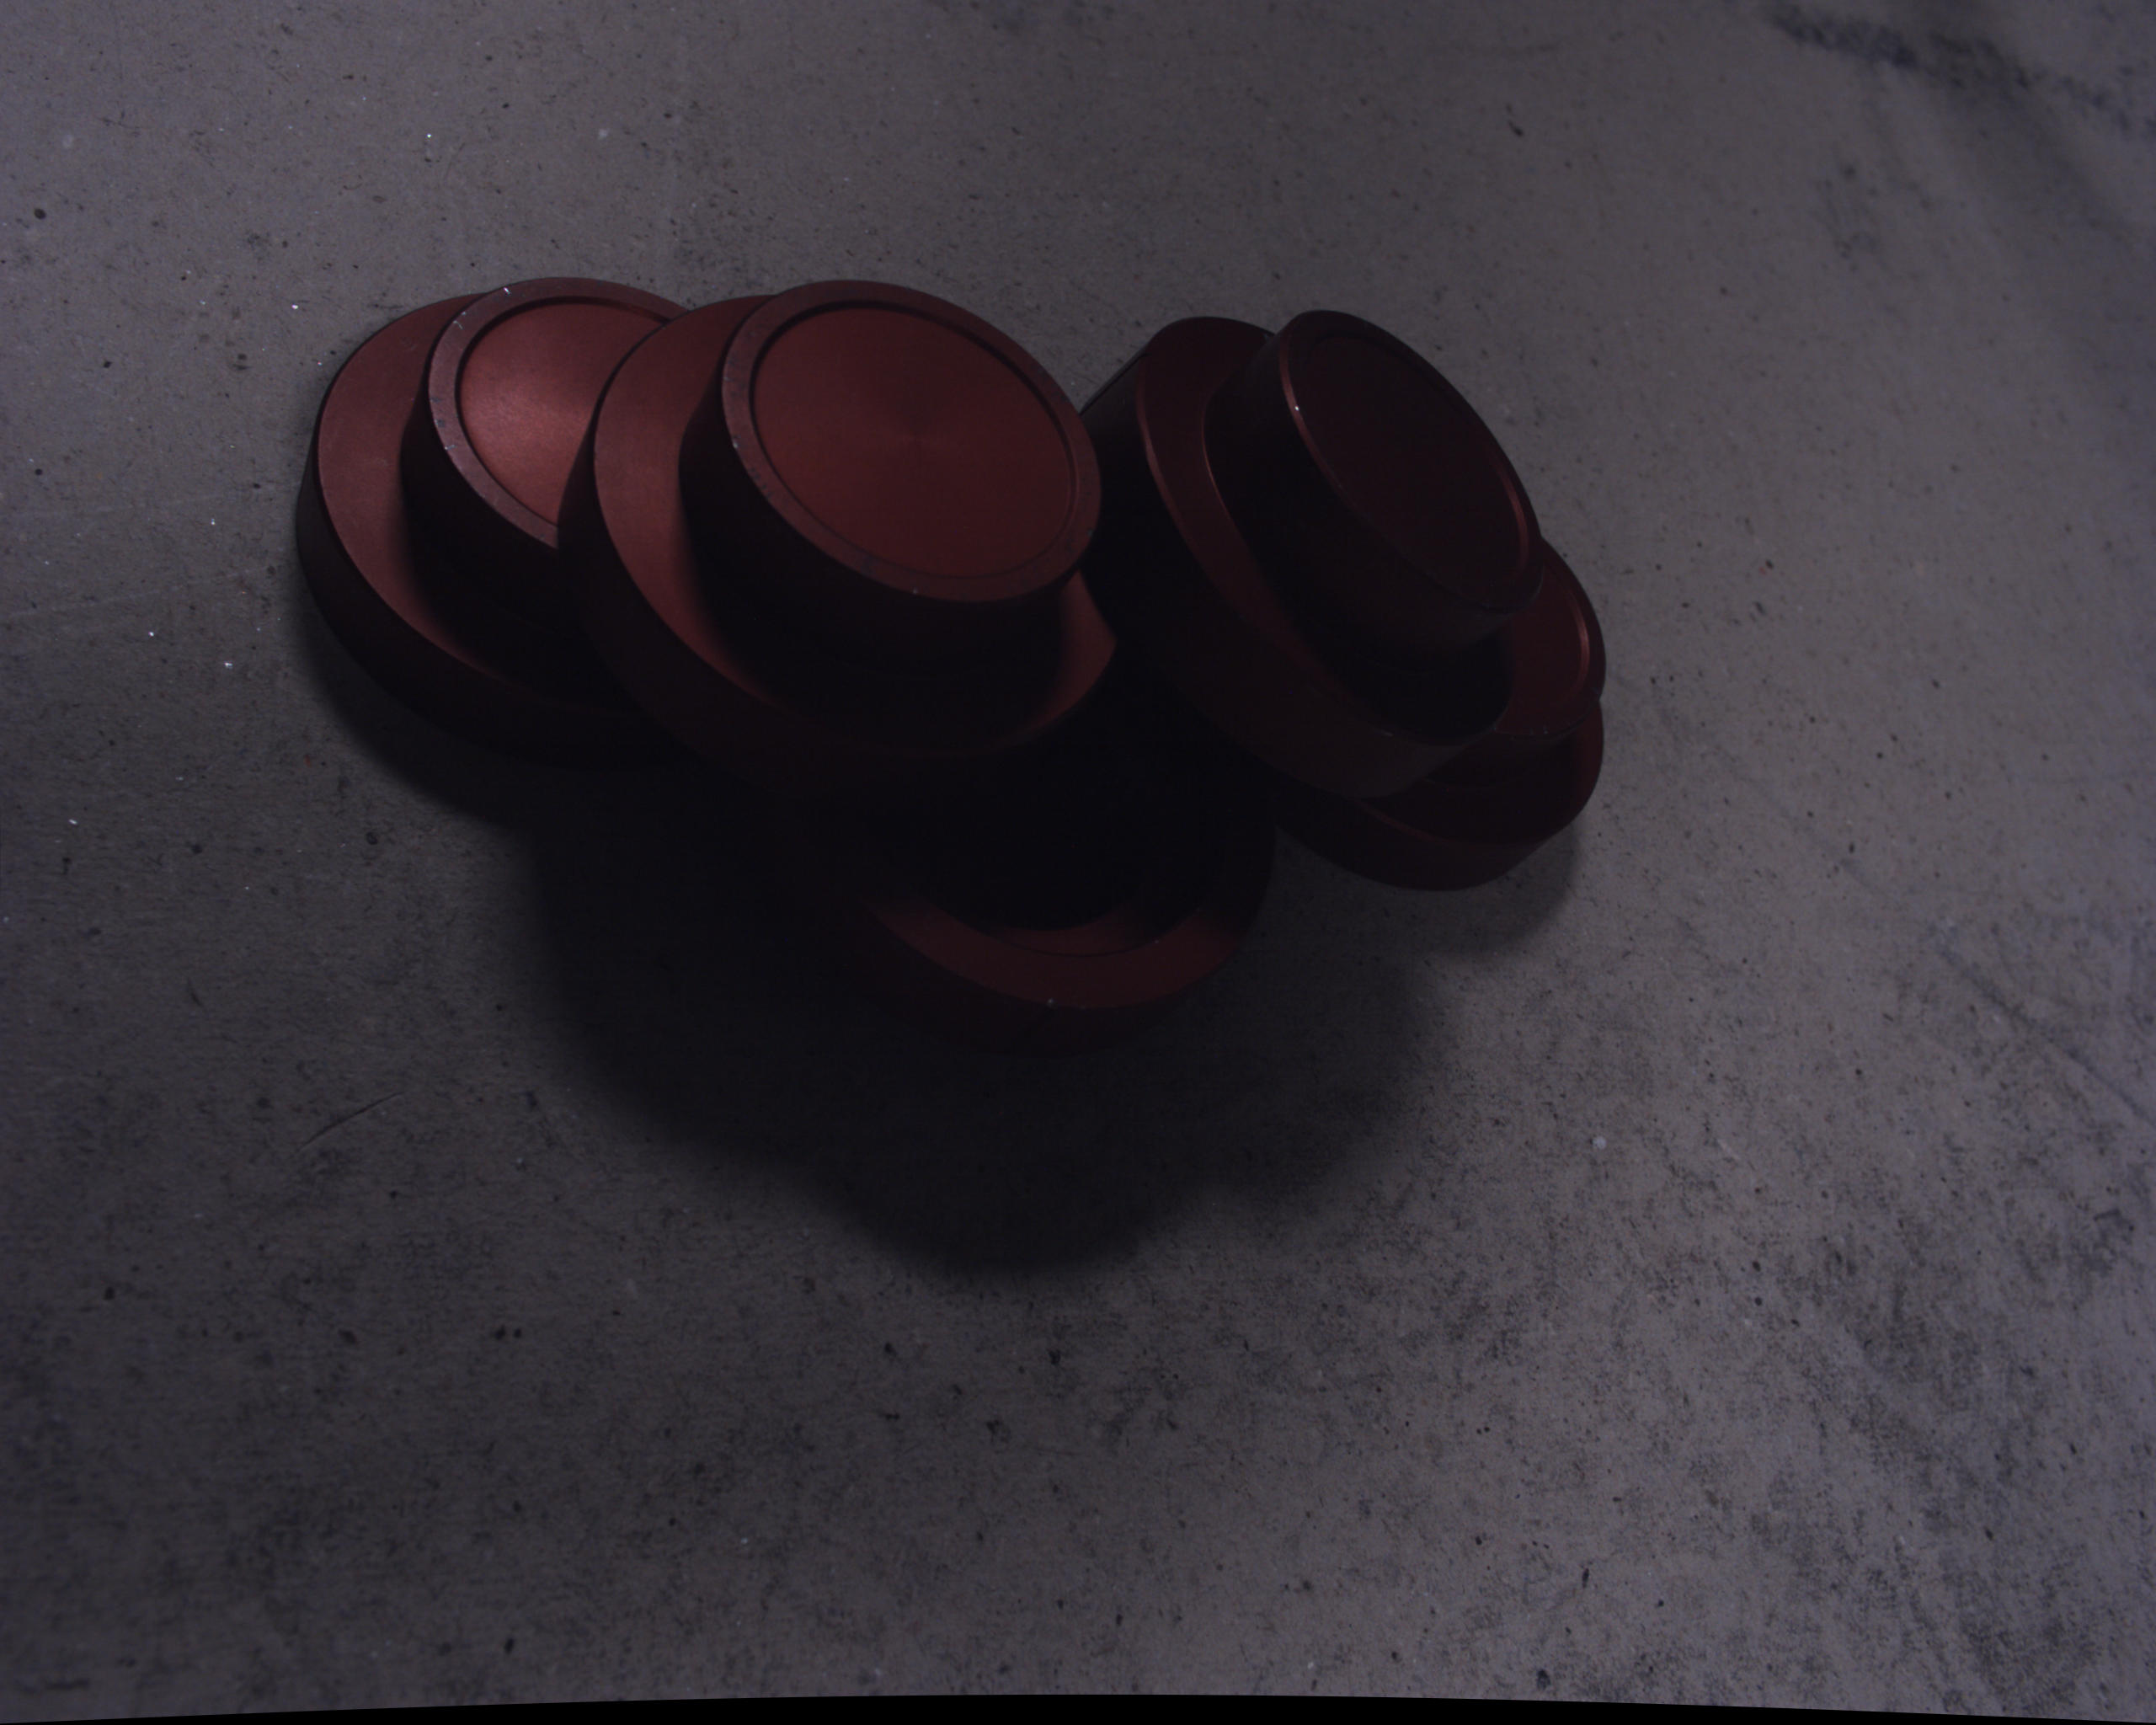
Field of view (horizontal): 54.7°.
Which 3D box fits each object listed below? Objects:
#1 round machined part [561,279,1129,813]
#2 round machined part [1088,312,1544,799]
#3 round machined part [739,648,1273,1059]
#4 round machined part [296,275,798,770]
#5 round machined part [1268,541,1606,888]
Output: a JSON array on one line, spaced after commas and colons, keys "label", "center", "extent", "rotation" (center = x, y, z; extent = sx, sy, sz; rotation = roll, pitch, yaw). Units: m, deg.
[{"label": "round machined part", "center": [-0.035, -0.061, 0.359], "extent": [0.099, 0.042, 0.098], "rotation": [14, 56, -21]}, {"label": "round machined part", "center": [0.049, -0.064, 0.395], "extent": [0.099, 0.042, 0.098], "rotation": [25, 46, -29]}, {"label": "round machined part", "center": [-0.016, -0.008, 0.392], "extent": [0.099, 0.042, 0.098], "rotation": [14, 56, -21]}, {"label": "round machined part", "center": [-0.091, -0.069, 0.388], "extent": [0.099, 0.042, 0.098], "rotation": [14, 56, -21]}, {"label": "round machined part", "center": [0.077, -0.046, 0.466], "extent": [0.099, 0.042, 0.098], "rotation": [14, 56, -21]}]
